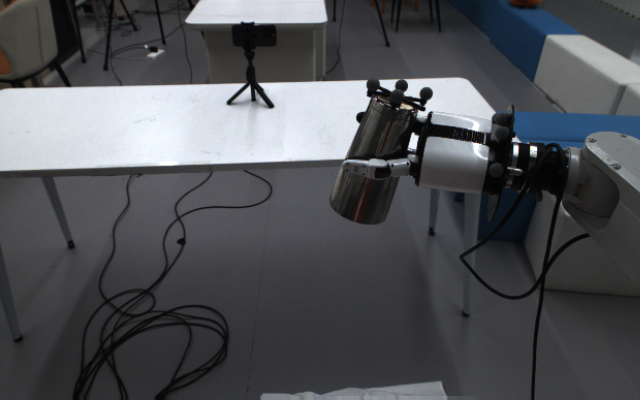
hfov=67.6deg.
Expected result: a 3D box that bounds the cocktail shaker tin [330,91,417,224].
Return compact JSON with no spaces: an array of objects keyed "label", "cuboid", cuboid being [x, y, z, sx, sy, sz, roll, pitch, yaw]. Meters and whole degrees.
[{"label":"cocktail shaker tin","cuboid":[0.081,-0.063,0.690,0.093,0.170,0.093,12,29,-7]}]
